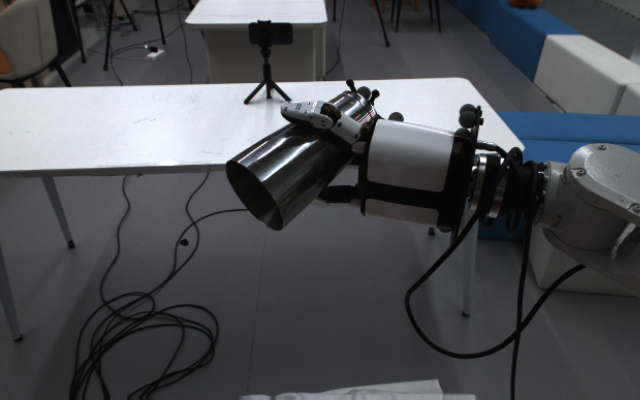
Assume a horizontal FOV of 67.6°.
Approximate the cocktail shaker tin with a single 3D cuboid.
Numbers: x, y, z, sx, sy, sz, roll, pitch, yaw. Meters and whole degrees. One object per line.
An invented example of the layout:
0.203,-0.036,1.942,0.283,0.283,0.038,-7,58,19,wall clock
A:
-0.010,-0.057,0.547,0.170,0.093,0.093,-38,50,-24,cocktail shaker tin
